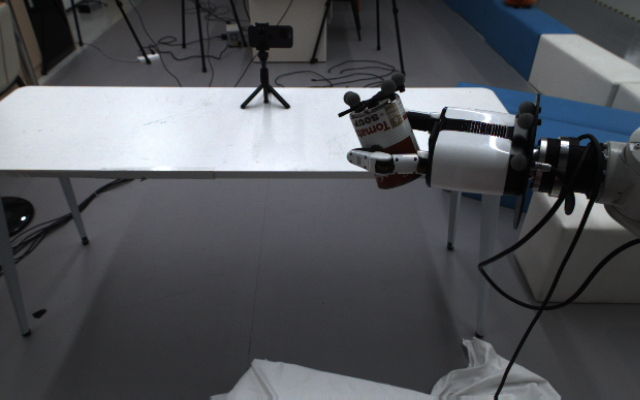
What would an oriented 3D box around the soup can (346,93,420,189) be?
[{"bbox_3d":[0.088,-0.075,0.613,0.067,0.101,0.067,-23,16,7],"label":"soup can"}]
